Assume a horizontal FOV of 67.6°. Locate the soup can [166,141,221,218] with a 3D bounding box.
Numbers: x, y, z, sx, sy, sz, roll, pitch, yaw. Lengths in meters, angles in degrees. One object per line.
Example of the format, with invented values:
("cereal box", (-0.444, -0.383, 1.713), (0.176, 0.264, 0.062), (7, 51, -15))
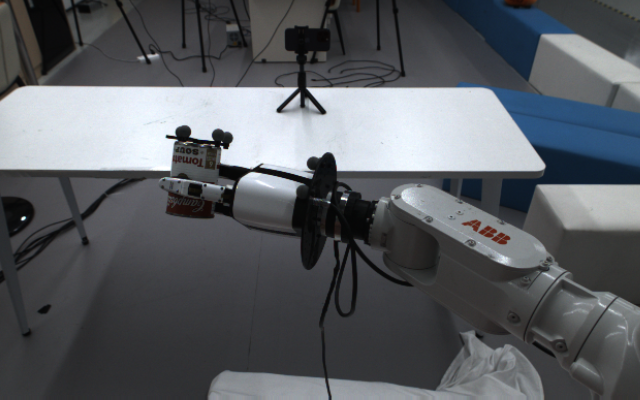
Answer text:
("soup can", (-0.178, -0.026, 0.688), (0.067, 0.101, 0.067), (7, 3, 0))
